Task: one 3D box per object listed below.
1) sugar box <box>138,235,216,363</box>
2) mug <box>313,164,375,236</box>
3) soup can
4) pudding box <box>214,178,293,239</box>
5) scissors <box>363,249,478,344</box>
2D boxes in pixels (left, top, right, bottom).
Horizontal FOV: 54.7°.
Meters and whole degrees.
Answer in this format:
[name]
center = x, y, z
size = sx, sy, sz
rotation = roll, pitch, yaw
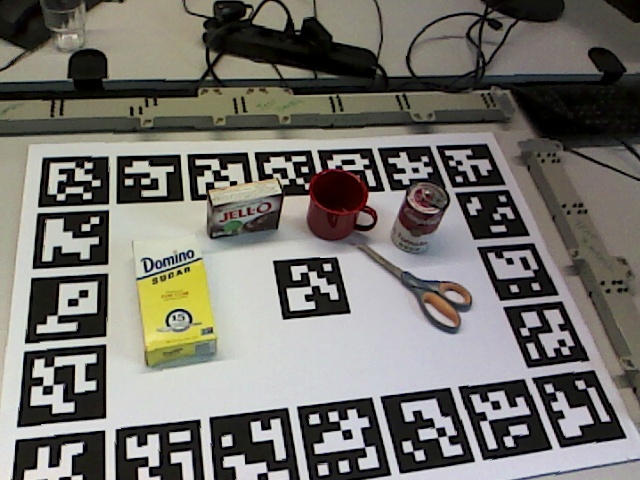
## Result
[sugar box]
center = -0.205, 0.080, 0.878
size = 0.092, 0.045, 0.177
rotation = -7, 58, -12
[mug]
center = 0.040, -0.053, 0.984
size = 0.118, 0.081, 0.093
rotation = 41, 61, 20
[soup can]
center = 0.160, -0.028, 0.983
size = 0.068, 0.102, 0.068
rotation = 4, 54, -6
[pudding box]
center = -0.104, -0.048, 0.948
size = 0.113, 0.090, 0.039
rotation = -11, 65, -17
[scissors]
center = 0.149, 0.071, 0.953
size = 0.203, 0.016, 0.087
rotation = 37, 67, 15
